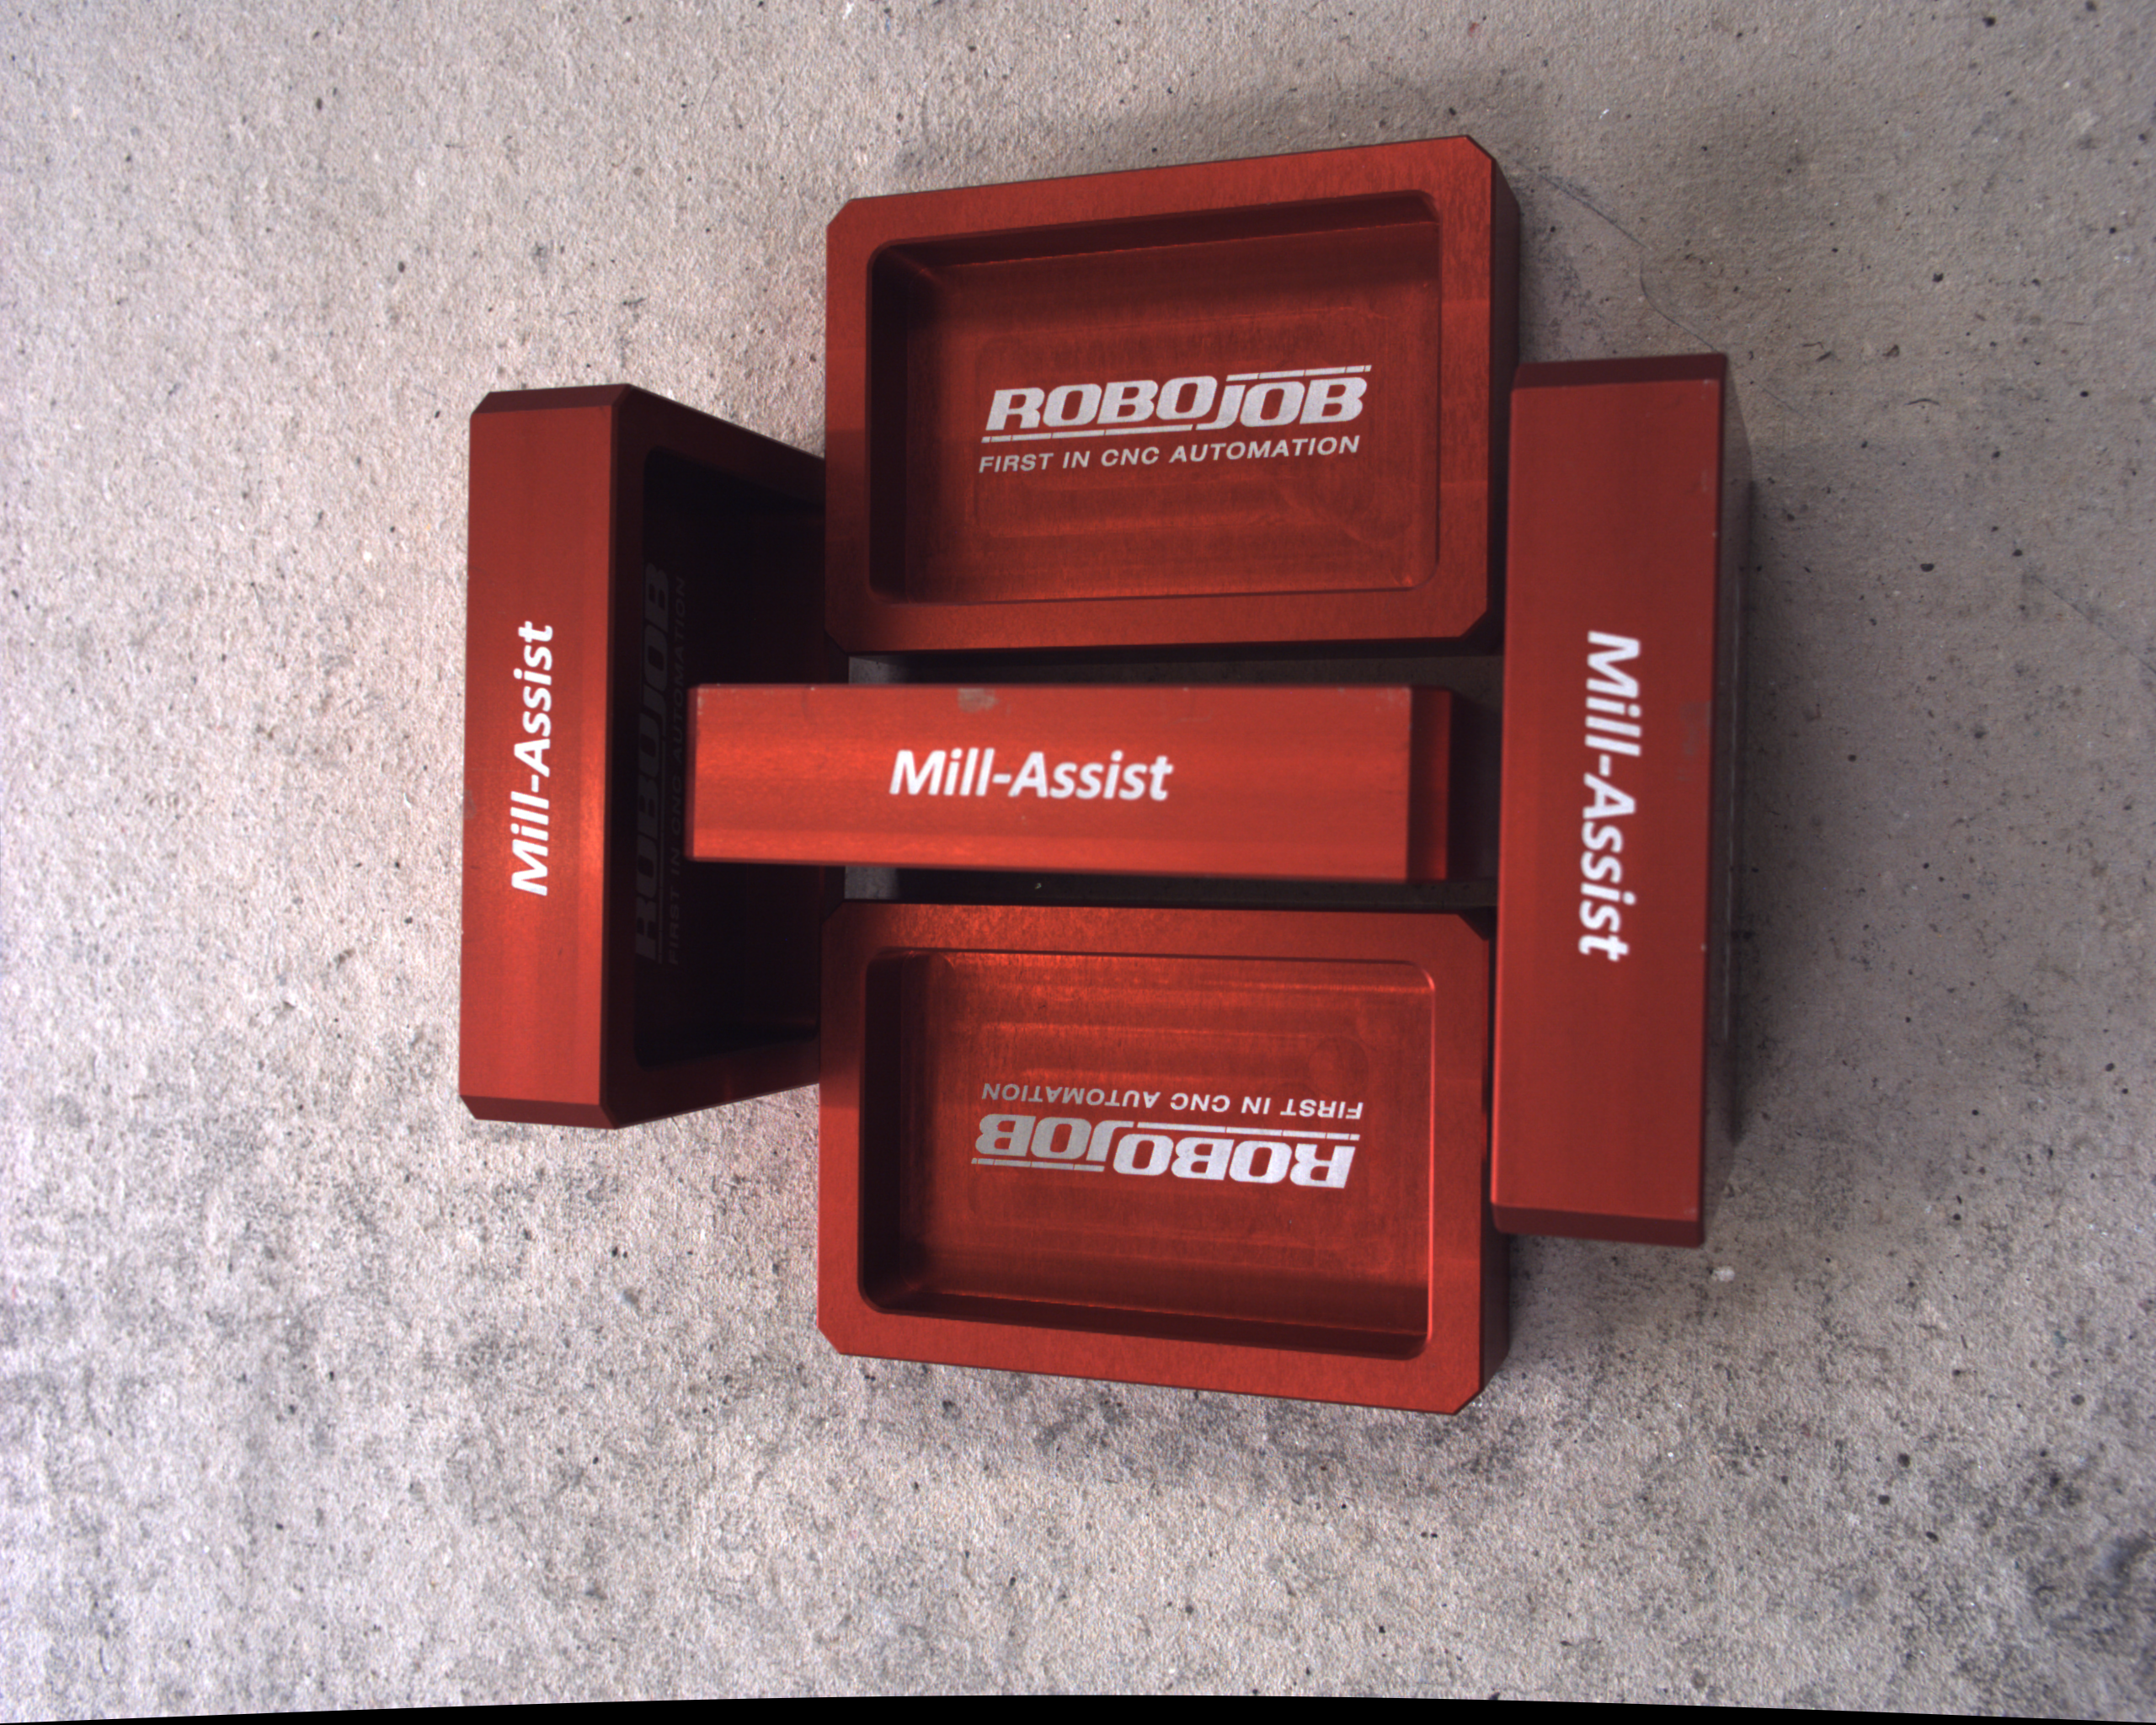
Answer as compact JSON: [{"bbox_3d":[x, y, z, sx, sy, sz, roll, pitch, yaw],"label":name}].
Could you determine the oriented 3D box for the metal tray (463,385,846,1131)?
[{"bbox_3d":[-0.078,-0.019,0.403,0.030,0.090,0.129,1,91,20],"label":"metal tray"}]

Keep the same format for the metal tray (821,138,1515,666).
[{"bbox_3d":[0.016,-0.084,0.402,0.130,0.030,0.089,0,93,19],"label":"metal tray"}]

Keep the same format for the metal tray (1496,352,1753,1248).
[{"bbox_3d":[0.092,-0.009,0.343,0.030,0.090,0.129,1,90,20],"label":"metal tray"}]

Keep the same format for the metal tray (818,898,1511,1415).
[{"bbox_3d":[0.016,0.053,0.403,0.130,0.030,0.089,1,89,19],"label":"metal tray"}]

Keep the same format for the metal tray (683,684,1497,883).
[{"bbox_3d":[0.007,-0.014,0.374,0.130,0.090,0.030,1,92,20],"label":"metal tray"}]
